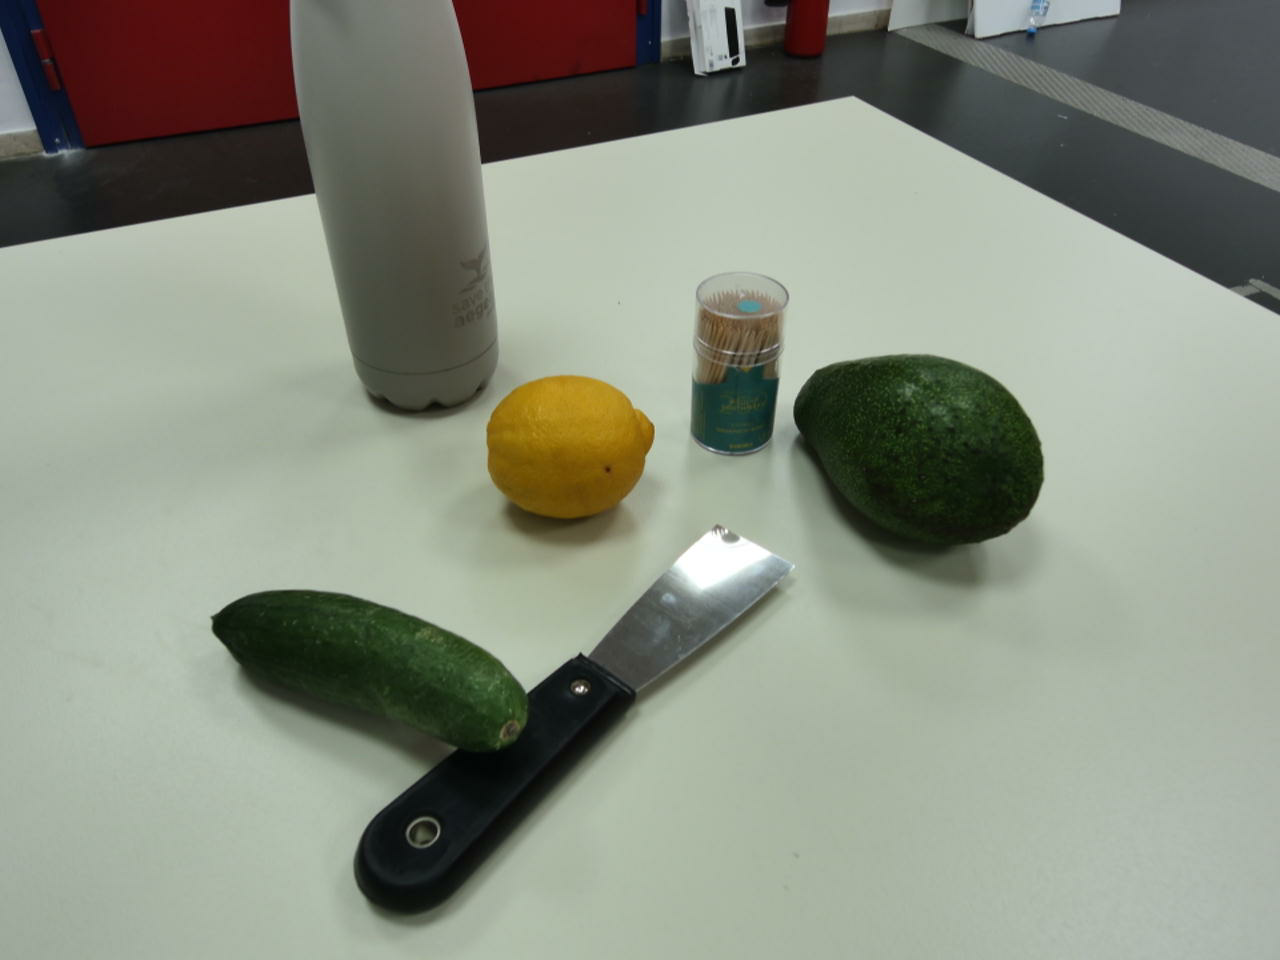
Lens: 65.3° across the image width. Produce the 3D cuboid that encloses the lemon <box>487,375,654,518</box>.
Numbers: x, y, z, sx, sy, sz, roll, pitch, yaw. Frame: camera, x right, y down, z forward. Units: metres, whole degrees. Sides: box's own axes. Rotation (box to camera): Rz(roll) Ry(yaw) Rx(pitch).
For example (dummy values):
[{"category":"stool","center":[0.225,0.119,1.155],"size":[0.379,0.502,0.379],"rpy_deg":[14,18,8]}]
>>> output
[{"category":"lemon","center":[-0.030,-0.013,0.416],"size":[0.067,0.059,0.060],"rpy_deg":[9,39,12]}]
